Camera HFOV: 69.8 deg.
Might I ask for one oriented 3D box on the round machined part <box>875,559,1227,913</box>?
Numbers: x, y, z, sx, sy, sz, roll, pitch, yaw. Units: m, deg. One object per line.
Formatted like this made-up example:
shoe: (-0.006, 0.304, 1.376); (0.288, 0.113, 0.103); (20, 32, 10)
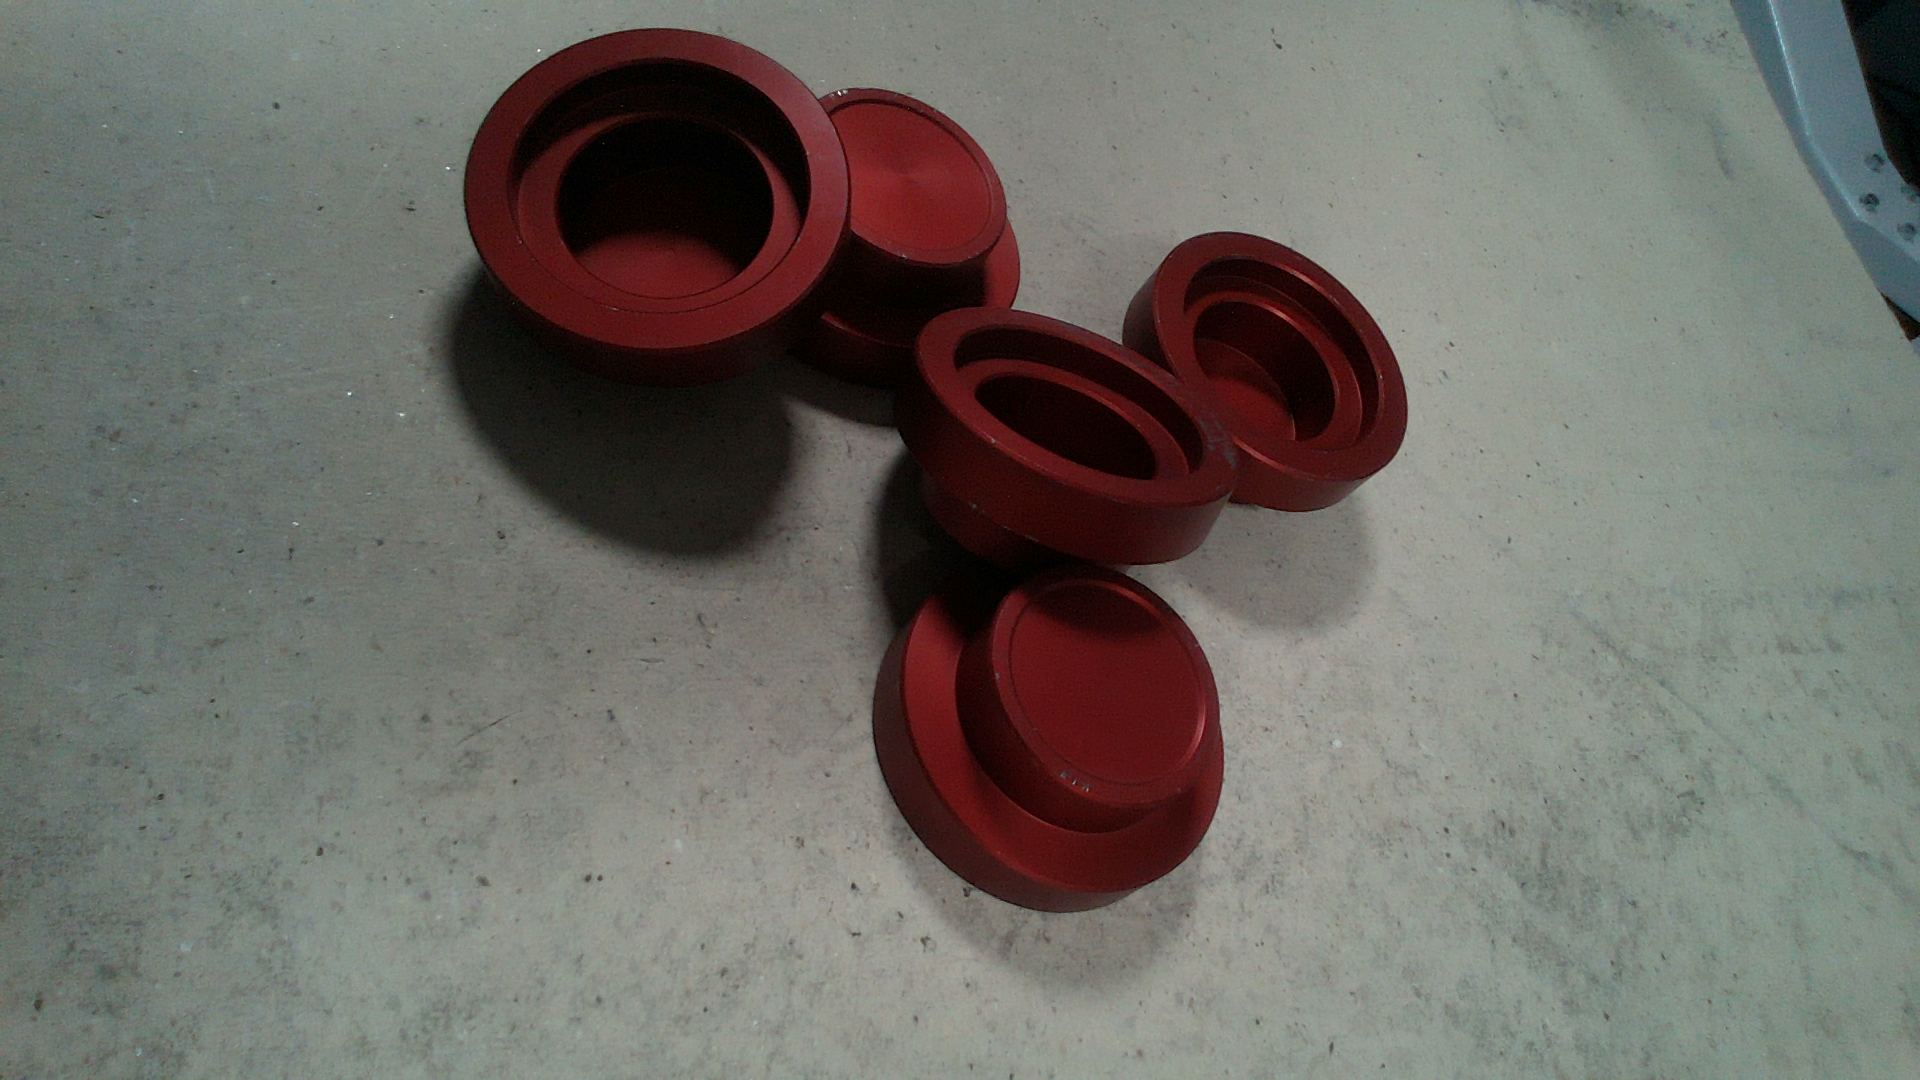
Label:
round machined part: (0.030, 0.045, 0.367); (0.098, 0.042, 0.098); (14, 56, -21)

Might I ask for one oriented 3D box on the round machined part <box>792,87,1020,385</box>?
round machined part: (-0.025, -0.100, 0.426); (0.098, 0.042, 0.098); (14, 56, -21)

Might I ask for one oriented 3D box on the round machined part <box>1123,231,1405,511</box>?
round machined part: (0.097, -0.052, 0.463); (0.098, 0.042, 0.098); (14, 56, -21)

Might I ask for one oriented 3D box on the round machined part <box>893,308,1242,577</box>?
round machined part: (0.027, -0.023, 0.394); (0.098, 0.042, 0.098); (16, 33, -10)

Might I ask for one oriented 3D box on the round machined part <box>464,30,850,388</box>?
round machined part: (-0.079, -0.085, 0.375); (0.098, 0.042, 0.098); (2, 70, -5)
